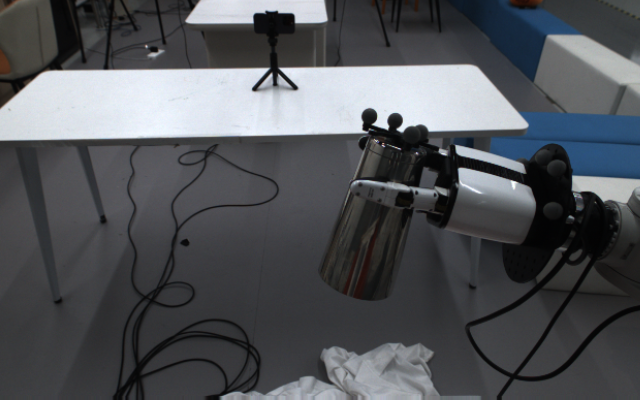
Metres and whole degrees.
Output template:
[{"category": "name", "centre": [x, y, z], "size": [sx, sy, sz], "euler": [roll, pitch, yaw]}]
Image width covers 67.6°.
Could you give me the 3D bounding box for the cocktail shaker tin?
[{"category": "cocktail shaker tin", "centre": [0.066, 0.014, 0.554], "size": [0.093, 0.170, 0.093], "euler": [14, 18, -5]}]
